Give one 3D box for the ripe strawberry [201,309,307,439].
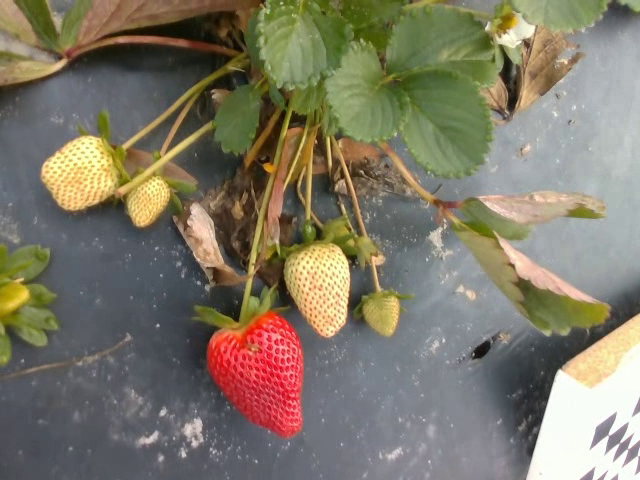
[{"bbox_3d":[-0.024,0.058,0.271,0.050,0.059,0.034,-28,-8,-20],"label":"ripe strawberry"}]
